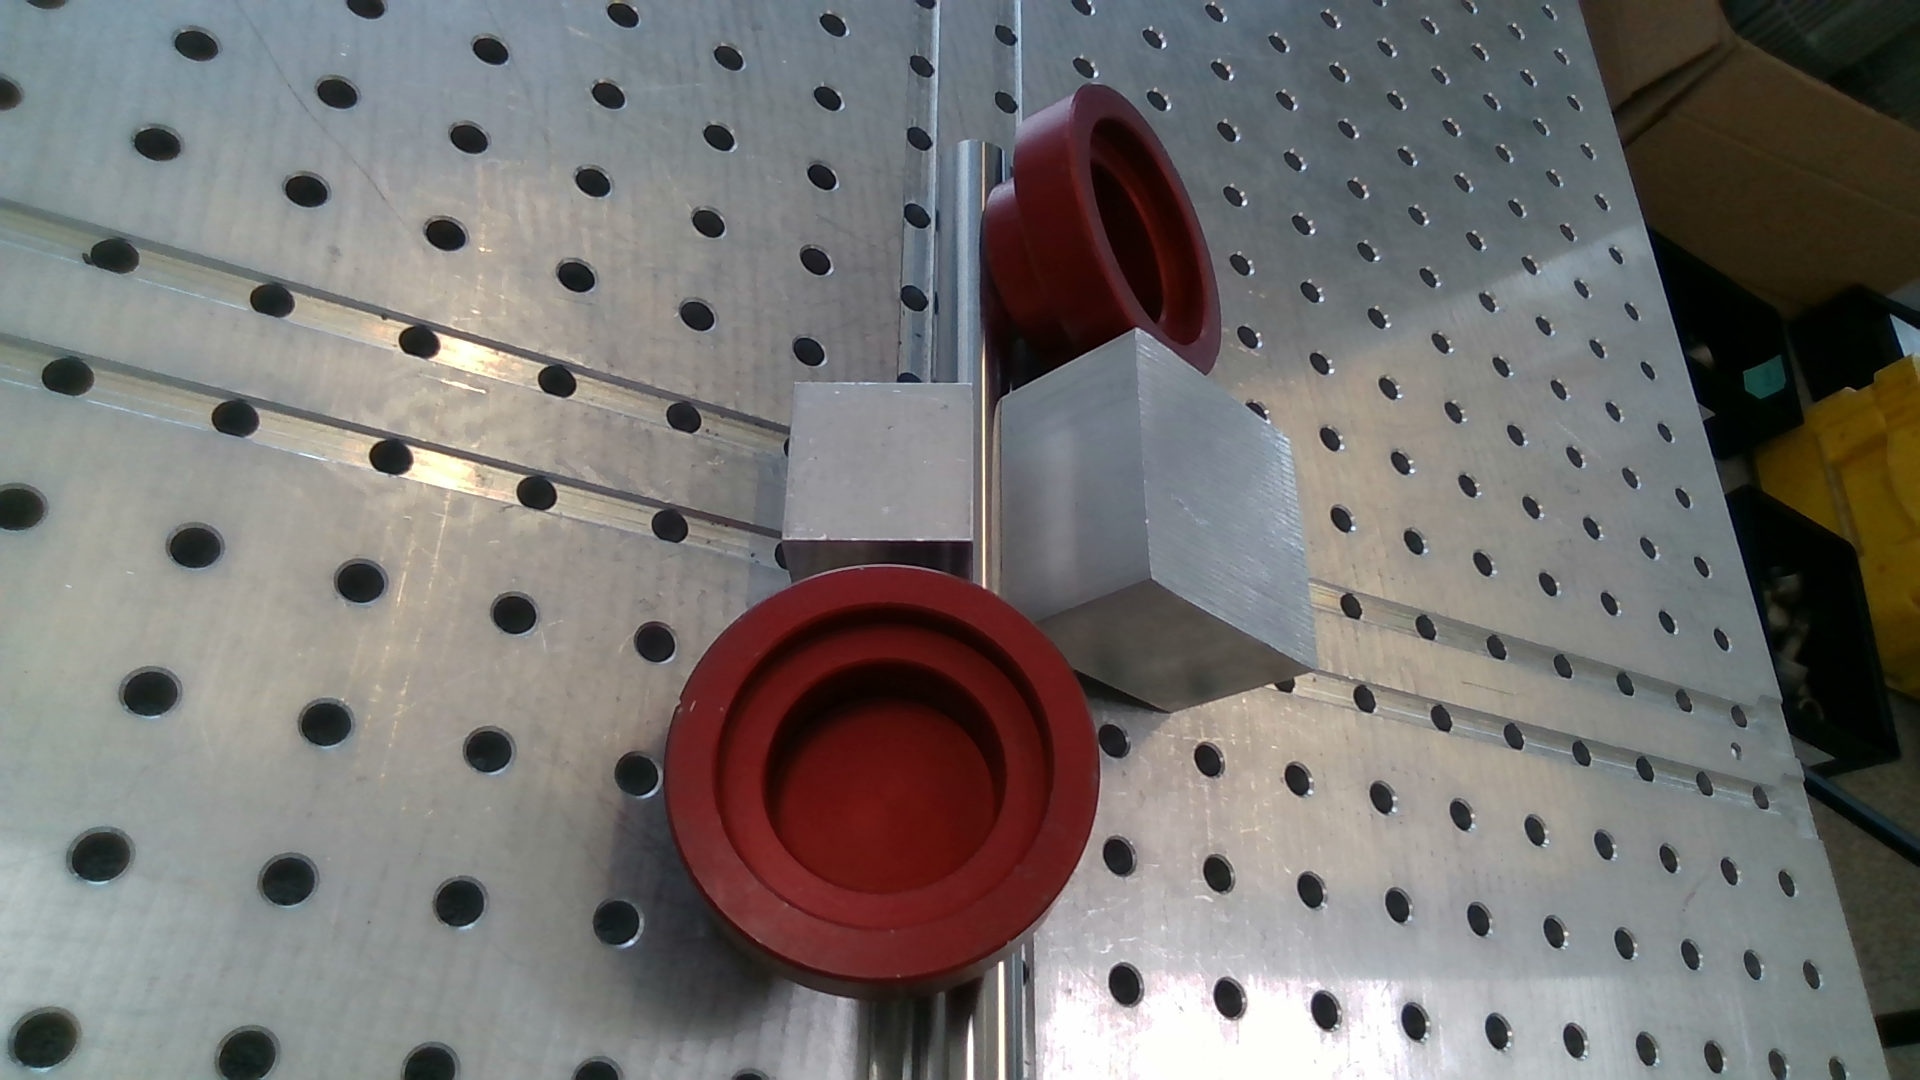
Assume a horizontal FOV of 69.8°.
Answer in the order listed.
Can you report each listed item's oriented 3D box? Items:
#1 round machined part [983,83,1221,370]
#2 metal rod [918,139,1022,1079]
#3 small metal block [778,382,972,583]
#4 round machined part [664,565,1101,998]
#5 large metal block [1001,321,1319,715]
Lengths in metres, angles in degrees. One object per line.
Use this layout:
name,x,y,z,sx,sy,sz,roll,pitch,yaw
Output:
round machined part,0.044,-0.092,0.445,0.098,0.042,0.098,33,47,-46
metal rod,0.003,0.005,0.397,0.025,0.025,0.299,15,59,-25
small metal block,-0.022,-0.016,0.379,0.050,0.025,0.050,0,62,0
round machined part,-0.018,0.059,0.327,0.098,0.042,0.098,2,62,-3
large metal block,0.058,-0.003,0.403,0.080,0.050,0.080,27,52,-40
